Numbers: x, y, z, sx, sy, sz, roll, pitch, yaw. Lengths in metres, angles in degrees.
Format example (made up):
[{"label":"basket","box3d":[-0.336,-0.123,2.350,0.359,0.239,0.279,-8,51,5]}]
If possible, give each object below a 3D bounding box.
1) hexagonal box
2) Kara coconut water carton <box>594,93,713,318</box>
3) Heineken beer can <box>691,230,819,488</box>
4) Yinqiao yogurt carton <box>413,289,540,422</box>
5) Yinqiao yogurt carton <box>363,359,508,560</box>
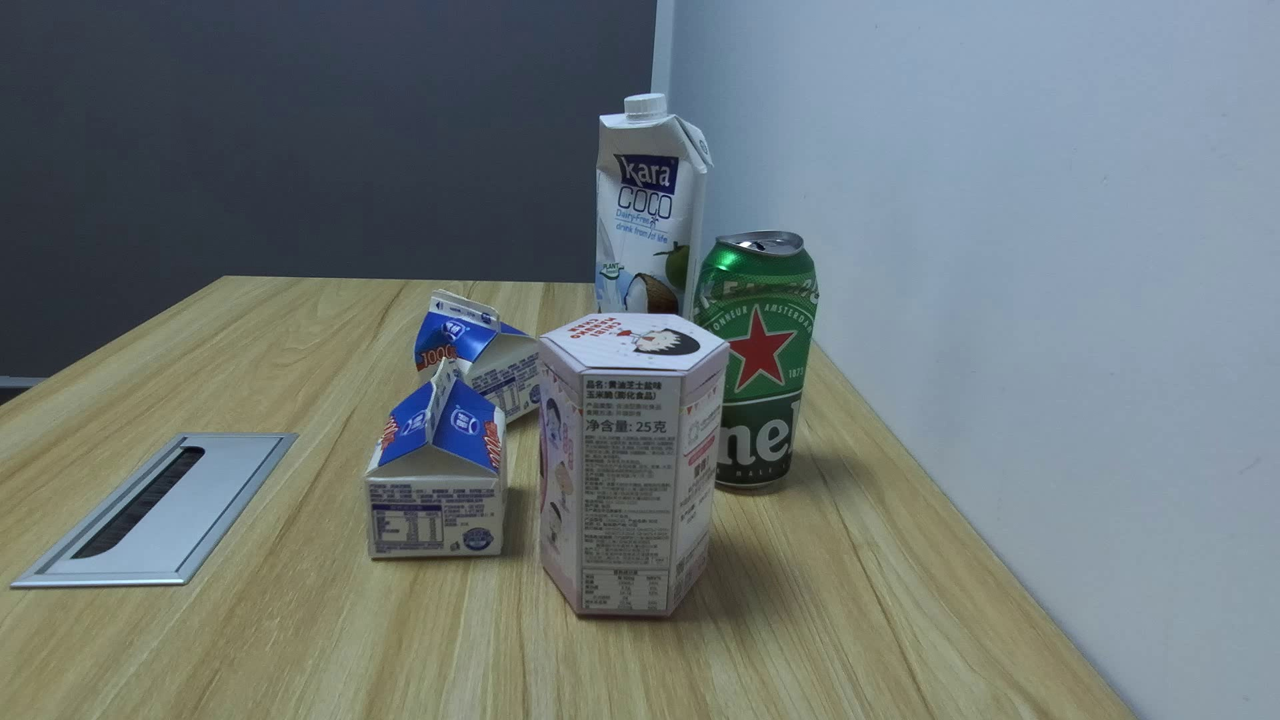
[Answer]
[{"label":"hexagonal box","box3d":[-0.006,0.052,0.363,0.083,0.136,0.091,15,25,25]},{"label":"Kara coconut water carton","box3d":[0.007,-0.081,0.552,0.114,0.238,0.069,17,26,34]},{"label":"Heineken beer can","box3d":[0.075,0.002,0.459,0.077,0.164,0.066,3,22,7]},{"label":"Yinqiao yogurt carton","box3d":[-0.125,-0.002,0.537,0.077,0.094,0.071,16,29,34]},{"label":"Yinqiao yogurt carton","box3d":[-0.114,0.054,0.403,0.074,0.092,0.075,0,22,-8]}]
